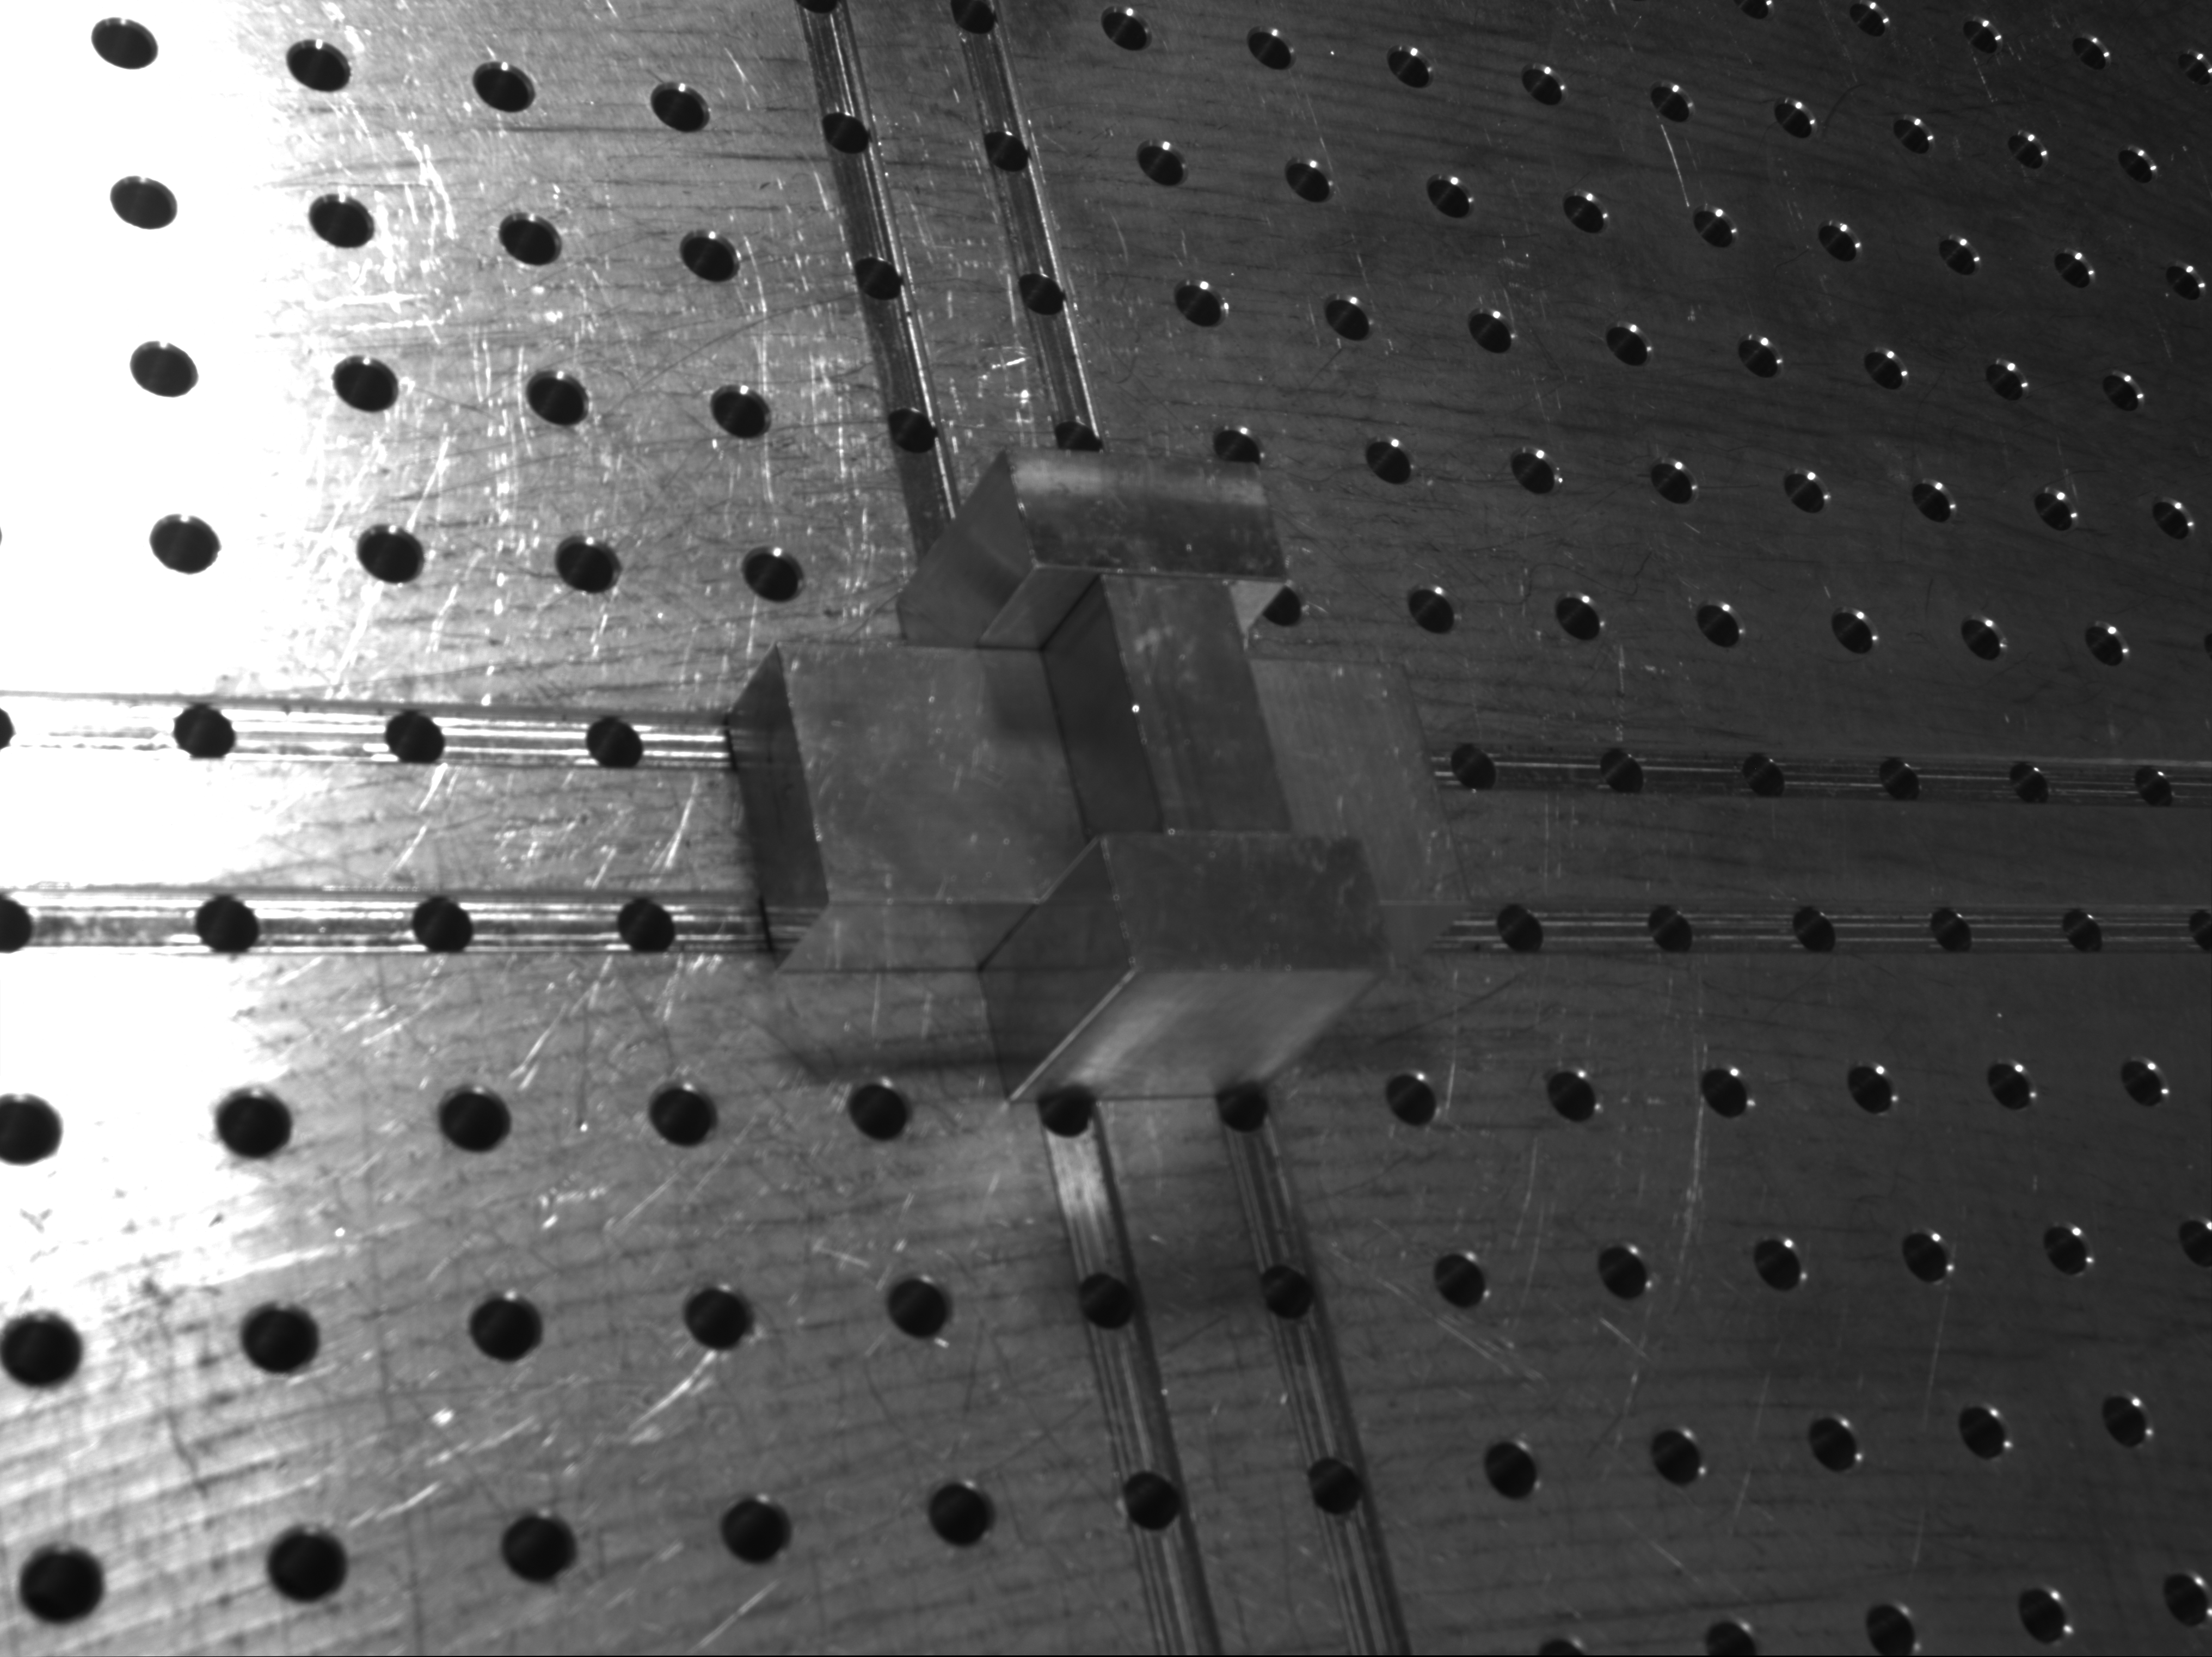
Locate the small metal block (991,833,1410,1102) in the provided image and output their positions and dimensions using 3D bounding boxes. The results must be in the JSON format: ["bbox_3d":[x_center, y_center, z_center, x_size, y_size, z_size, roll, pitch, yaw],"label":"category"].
[{"bbox_3d":[0.015,0.024,0.620,0.050,0.050,0.025,1,61,-28],"label":"small metal block"}]

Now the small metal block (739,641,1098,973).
[{"bbox_3d":[-0.031,-0.003,0.628,0.050,0.025,0.050,1,61,-28],"label":"small metal block"}]

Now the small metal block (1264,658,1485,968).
[{"bbox_3d":[0.035,-0.003,0.663,0.050,0.025,0.050,1,61,-28],"label":"small metal block"}]

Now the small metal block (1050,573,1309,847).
[{"bbox_3d":[0.007,-0.009,0.636,0.025,0.050,0.050,1,61,-28],"label":"small metal block"}]

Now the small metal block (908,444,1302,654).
[{"bbox_3d":[-0.001,-0.042,0.652,0.050,0.050,0.025,1,61,-28],"label":"small metal block"}]
